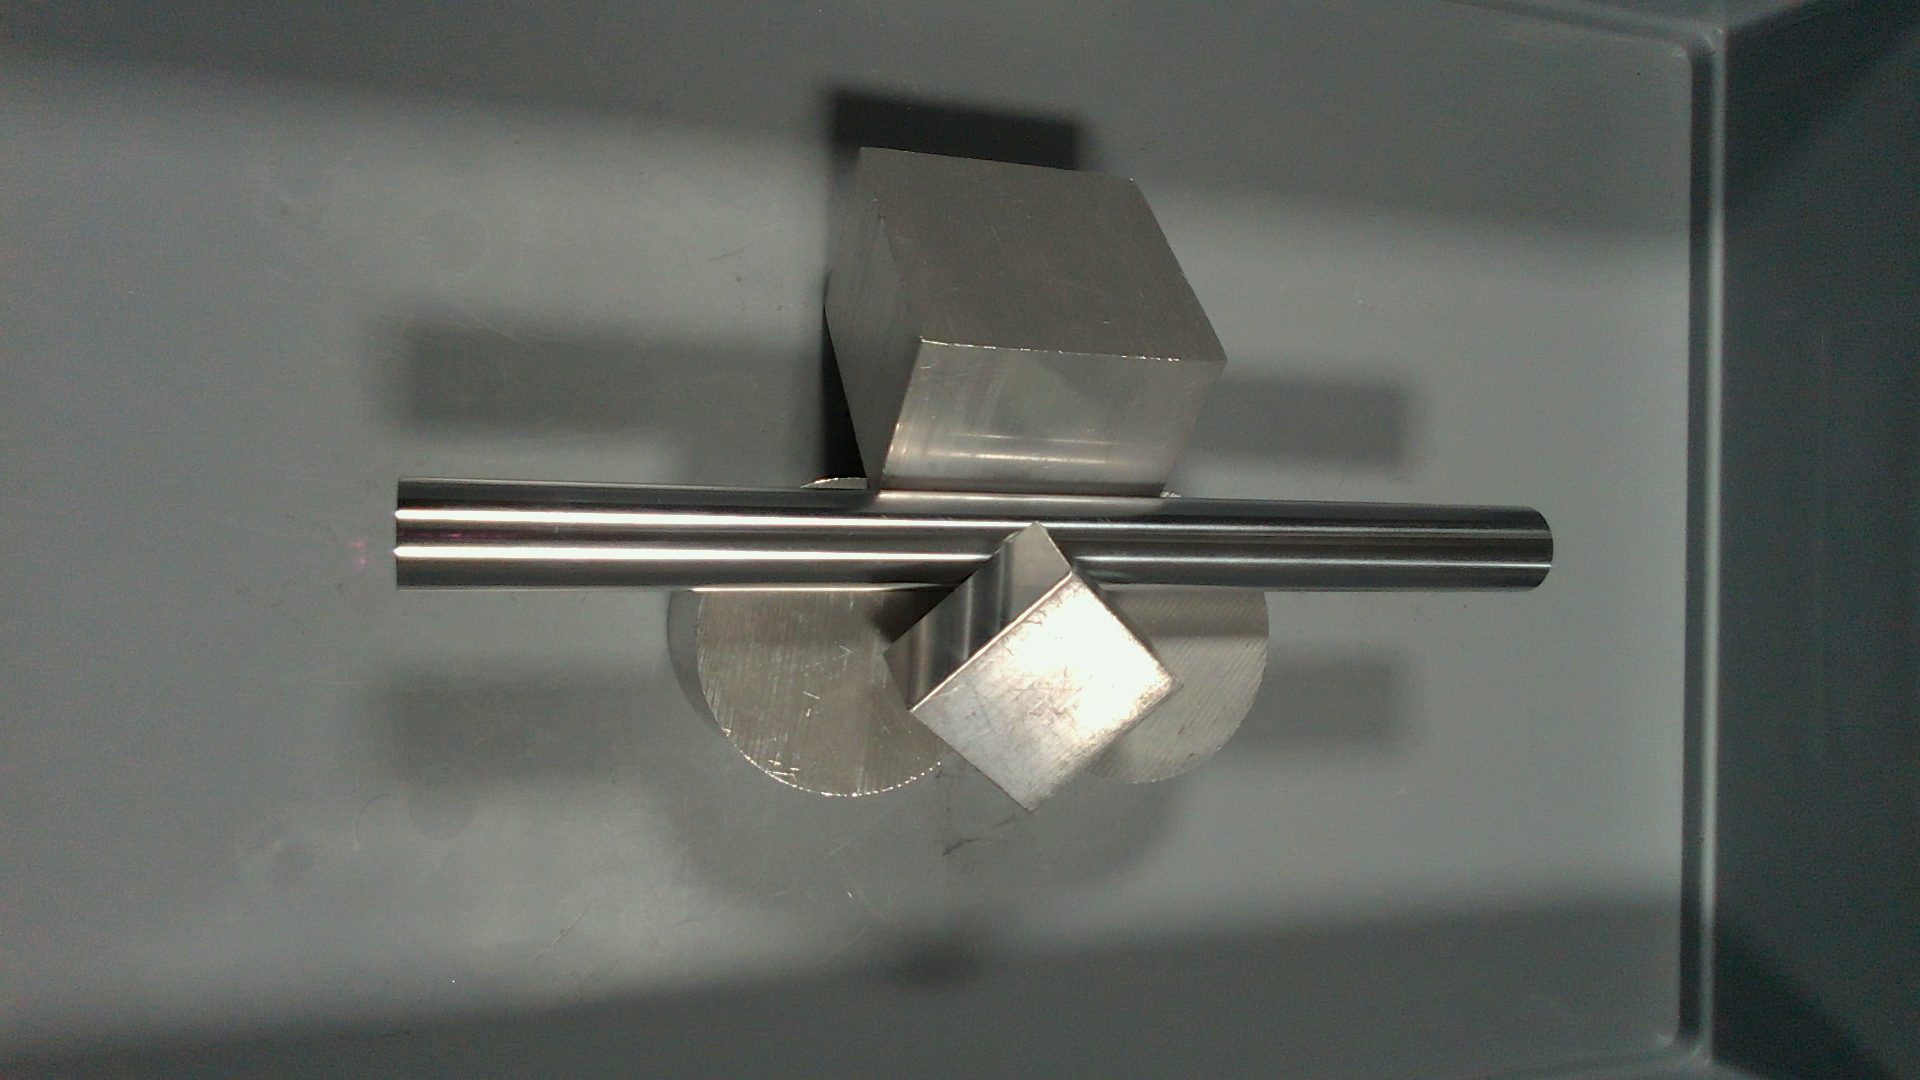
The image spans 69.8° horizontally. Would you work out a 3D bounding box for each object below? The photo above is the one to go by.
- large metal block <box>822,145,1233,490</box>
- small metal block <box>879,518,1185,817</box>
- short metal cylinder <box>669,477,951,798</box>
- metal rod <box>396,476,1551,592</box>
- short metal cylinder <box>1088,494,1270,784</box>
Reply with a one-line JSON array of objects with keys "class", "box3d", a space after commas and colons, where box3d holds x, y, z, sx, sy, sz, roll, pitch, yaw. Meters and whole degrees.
[{"class": "large metal block", "box3d": [0.013, -0.056, 0.362, 0.080, 0.050, 0.080, 1, 46, -20]}, {"class": "small metal block", "box3d": [0.018, 0.032, 0.334, 0.050, 0.025, 0.050, -42, 124, 6]}, {"class": "short metal cylinder", "box3d": [-0.035, 0.024, 0.367, 0.080, 0.050, 0.080, 0, 90, -20]}, {"class": "metal rod", "box3d": [0.021, 0.001, 0.347, 0.301, 0.025, 0.025, 1, 90, -20]}, {"class": "short metal cylinder", "box3d": [0.040, 0.026, 0.394, 0.080, 0.050, 0.080, 0, 90, -20]}]
